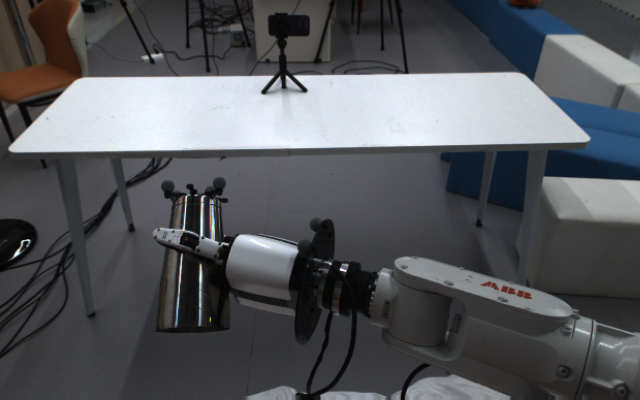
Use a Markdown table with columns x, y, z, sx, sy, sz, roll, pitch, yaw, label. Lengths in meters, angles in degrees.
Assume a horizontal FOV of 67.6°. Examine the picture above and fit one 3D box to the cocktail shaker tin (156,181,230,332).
| x | y | z | sx | sy | sz | roll | pitch | yaw | label |
| --- | --- | --- | --- | --- | --- | --- | --- | --- | --- |
| -0.165 | 0.084 | 0.633 | 0.093 | 0.093 | 0.170 | -2 | 70 | -5 | cocktail shaker tin |
